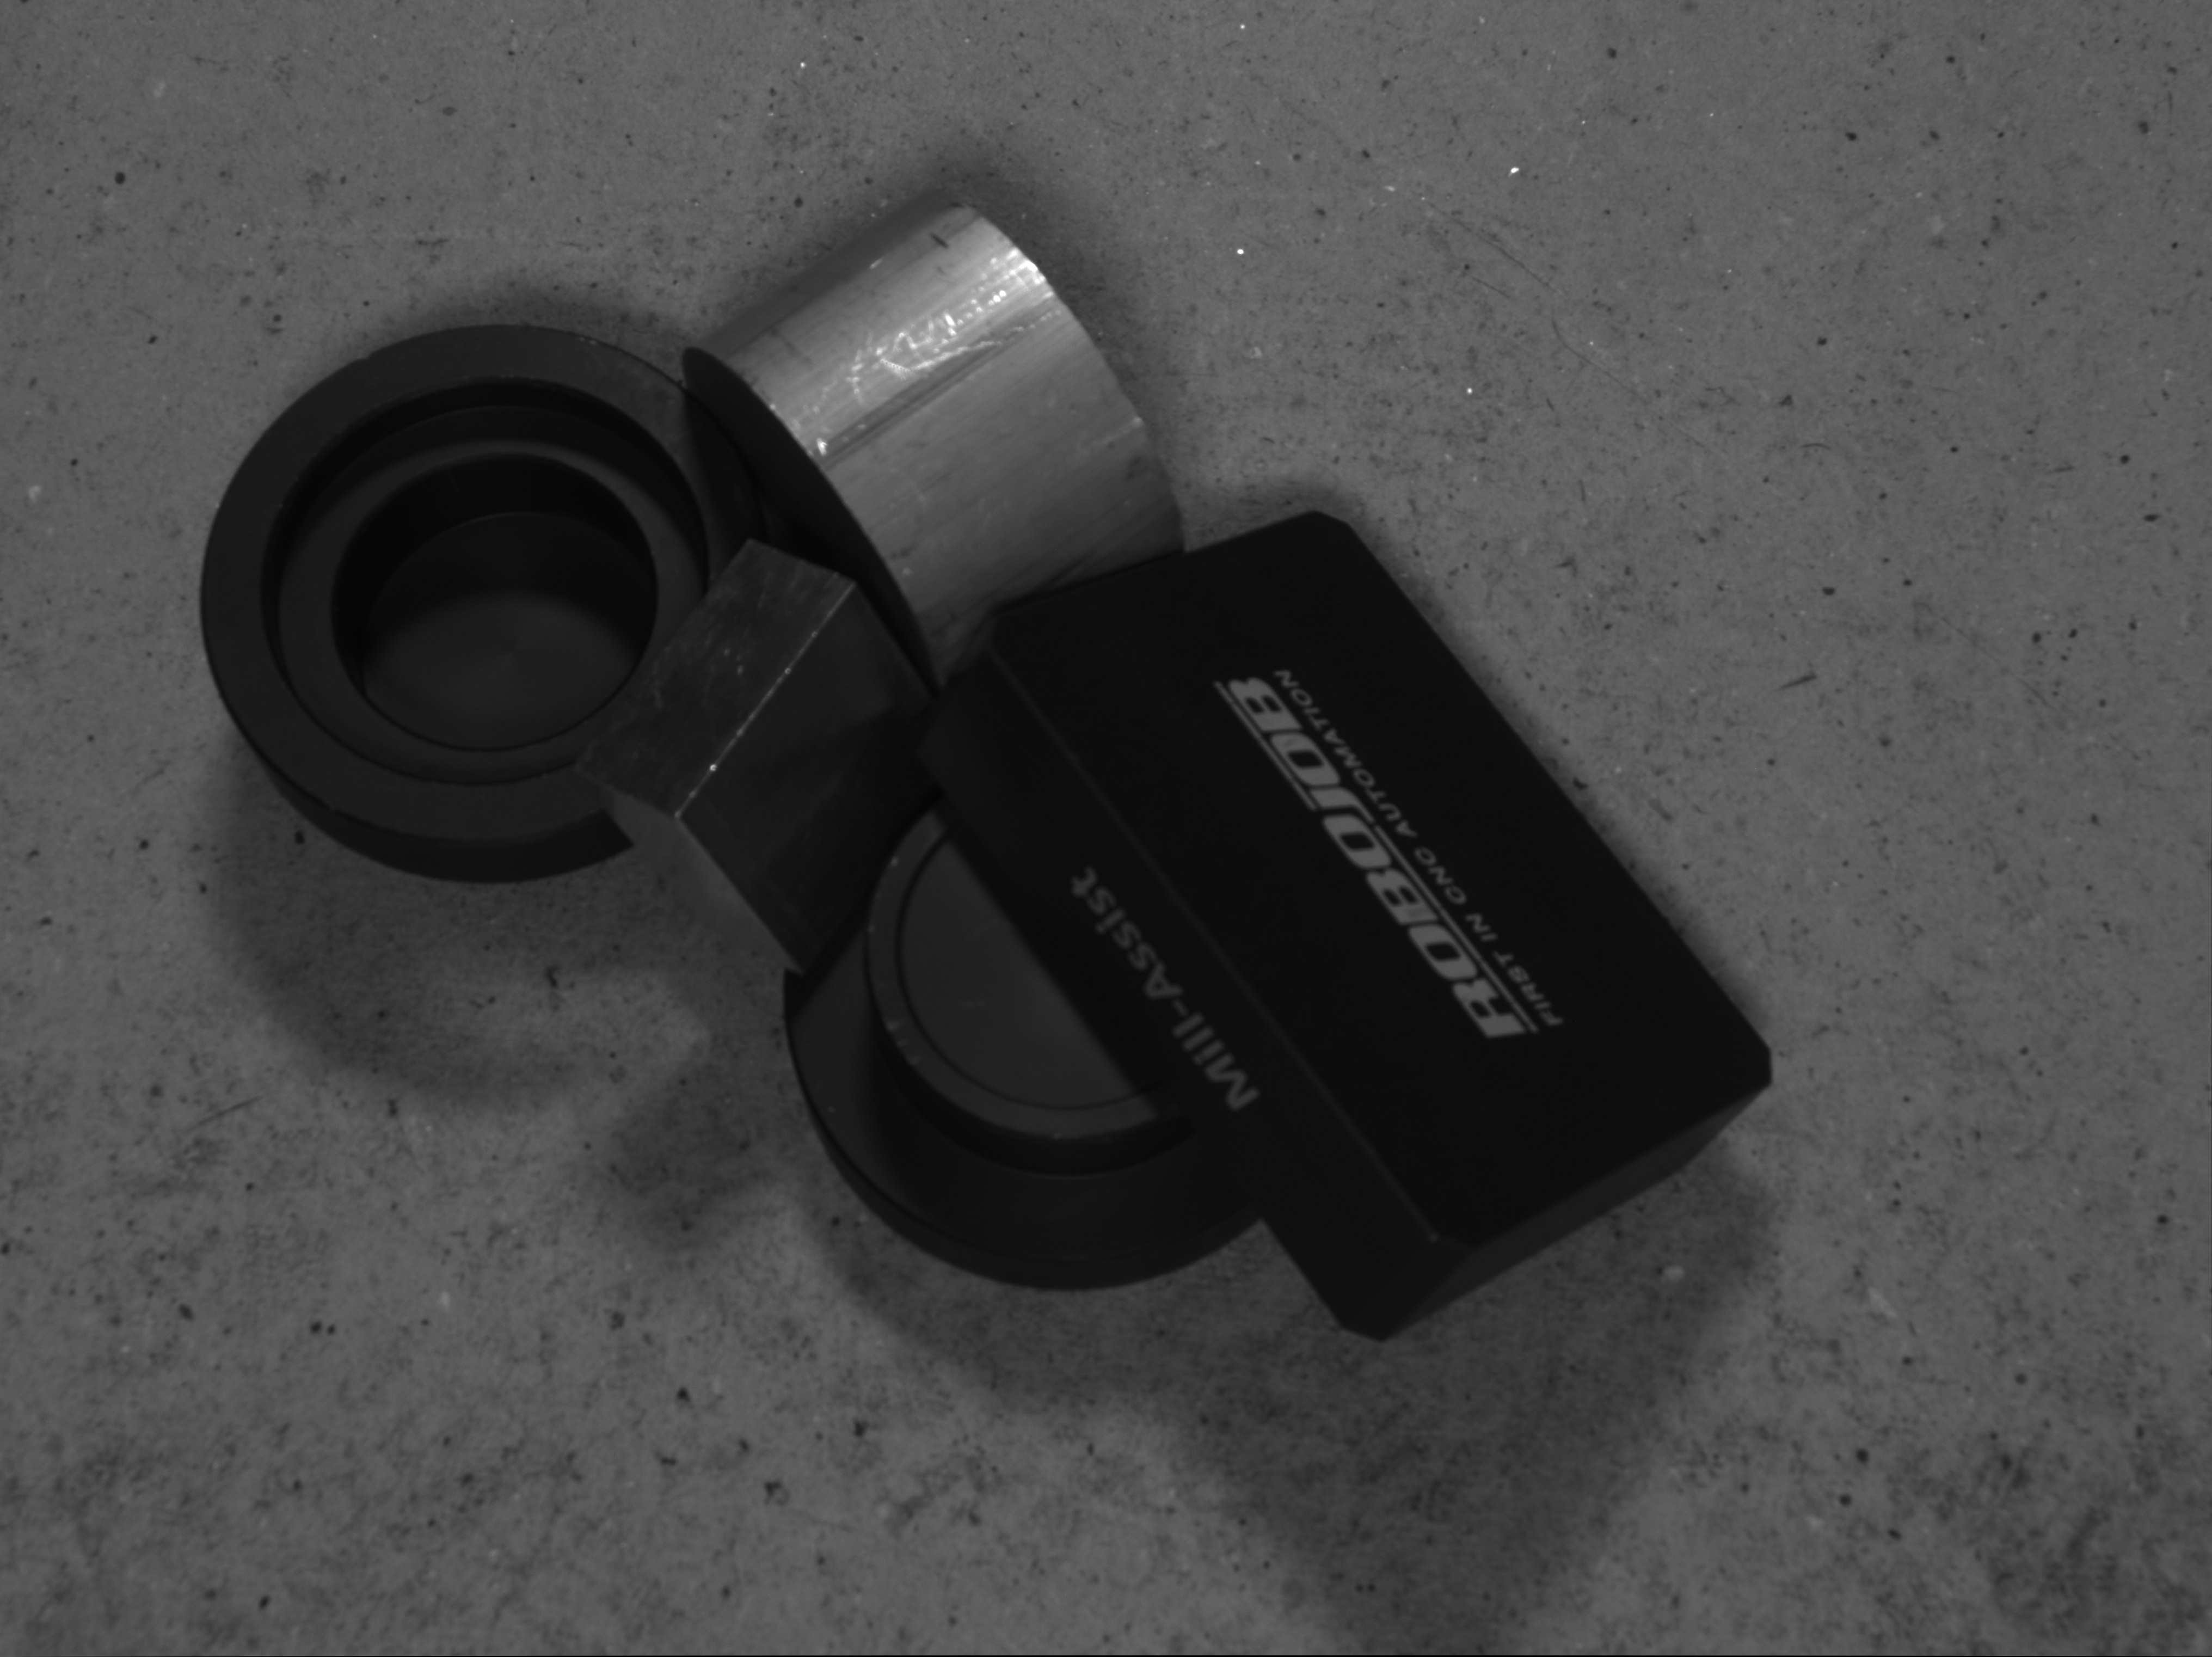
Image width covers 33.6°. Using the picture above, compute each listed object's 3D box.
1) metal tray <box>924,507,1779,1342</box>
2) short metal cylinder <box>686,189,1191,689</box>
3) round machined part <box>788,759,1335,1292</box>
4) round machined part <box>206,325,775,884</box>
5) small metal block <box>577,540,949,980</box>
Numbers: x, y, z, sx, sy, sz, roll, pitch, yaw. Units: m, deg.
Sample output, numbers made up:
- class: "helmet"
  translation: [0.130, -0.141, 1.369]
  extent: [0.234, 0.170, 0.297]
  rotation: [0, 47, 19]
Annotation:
- class: "metal tray"
  translation: [0.041, 0.012, 0.614]
  extent: [0.090, 0.030, 0.130]
  rotation: [-22, 68, -41]
- class: "short metal cylinder"
  translation: [-0.029, -0.064, 0.640]
  extent: [0.050, 0.080, 0.080]
  rotation: [-36, 74, -12]
- class: "round machined part"
  translation: [-0.005, 0.027, 0.626]
  extent: [0.098, 0.042, 0.098]
  rotation: [0, 70, 0]
- class: "round machined part"
  translation: [-0.106, -0.036, 0.649]
  extent: [0.098, 0.042, 0.098]
  rotation: [0, 70, 0]
- class: "small metal block"
  translation: [-0.054, -0.011, 0.617]
  extent: [0.025, 0.050, 0.050]
  rotation: [23, 69, 34]
